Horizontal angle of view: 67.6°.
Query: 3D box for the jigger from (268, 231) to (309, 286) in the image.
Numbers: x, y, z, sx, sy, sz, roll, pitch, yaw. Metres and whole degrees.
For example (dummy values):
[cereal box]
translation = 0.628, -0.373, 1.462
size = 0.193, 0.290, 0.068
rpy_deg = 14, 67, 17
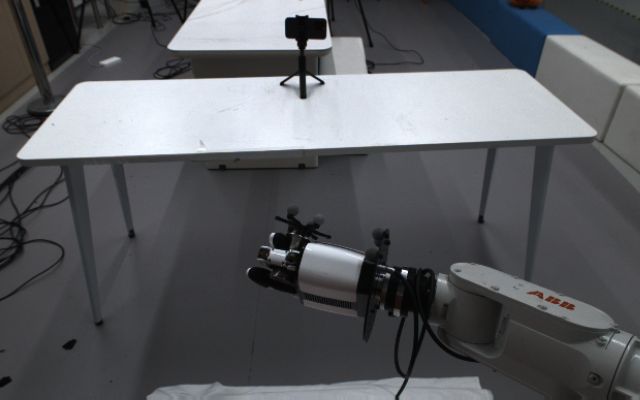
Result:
[jigger]
translation = -0.042, 0.085, 0.704
size = 0.043, 0.043, 0.071
rpy_deg = 15, 71, 18
